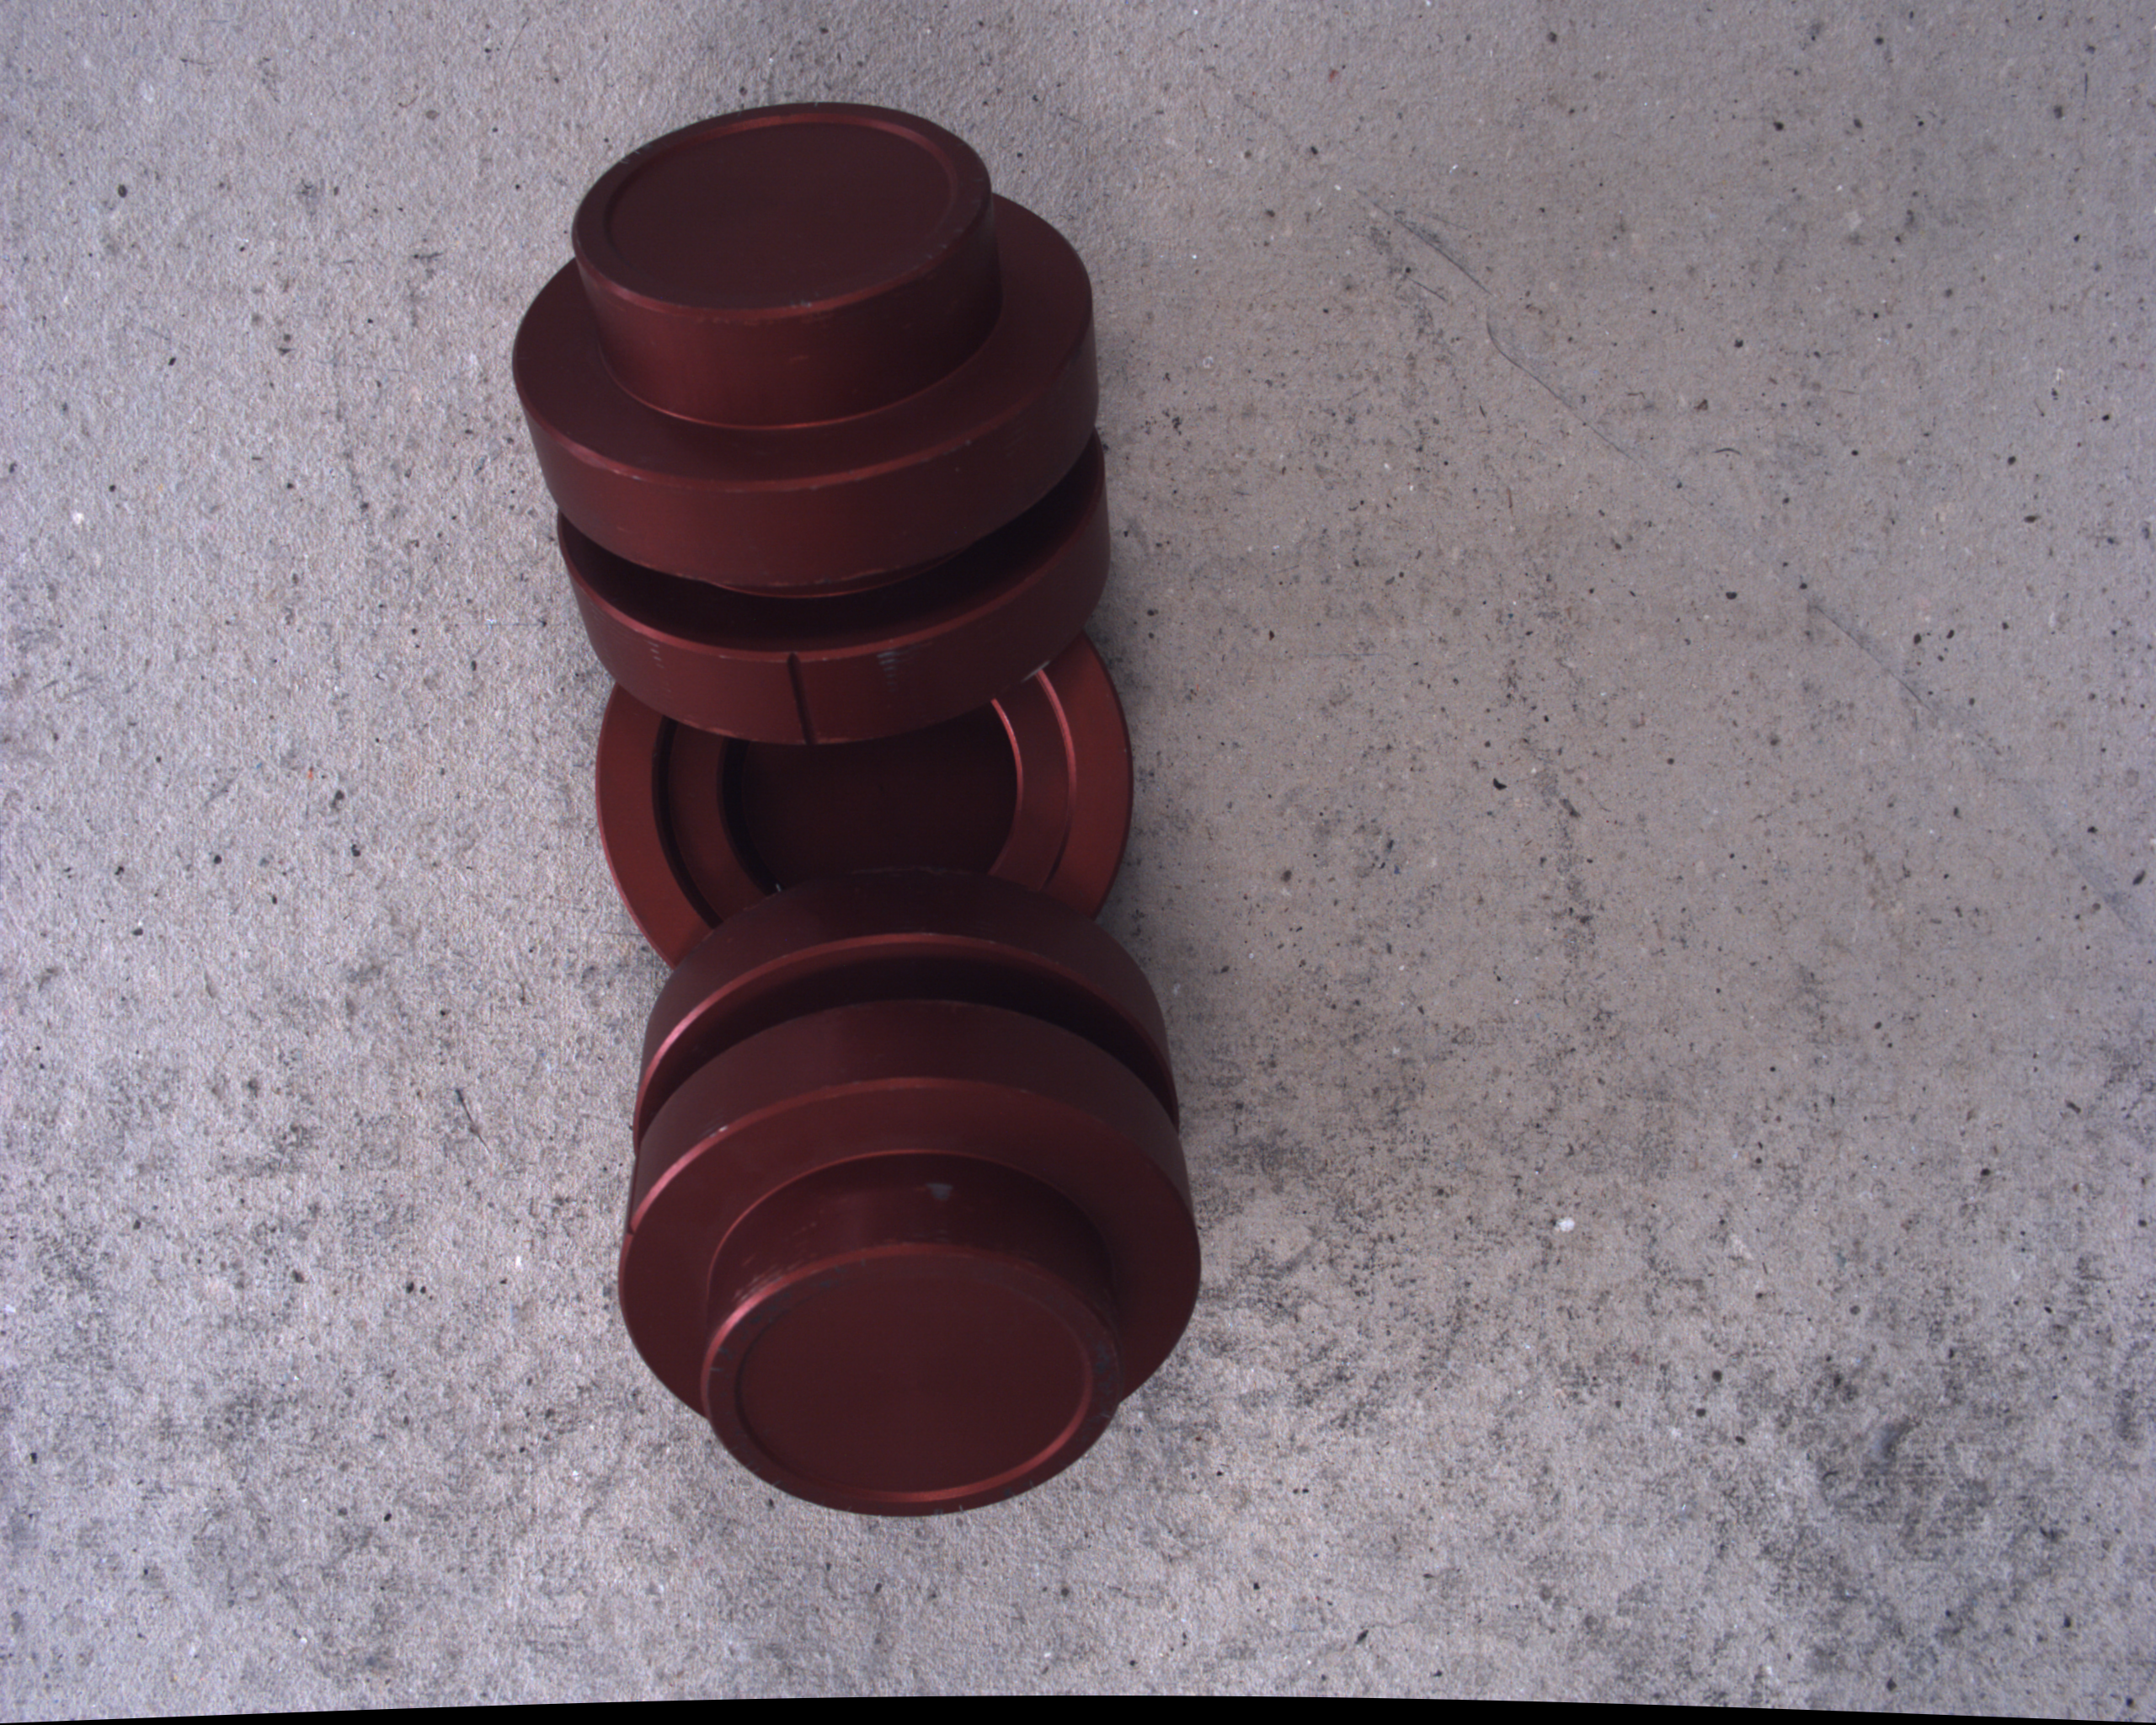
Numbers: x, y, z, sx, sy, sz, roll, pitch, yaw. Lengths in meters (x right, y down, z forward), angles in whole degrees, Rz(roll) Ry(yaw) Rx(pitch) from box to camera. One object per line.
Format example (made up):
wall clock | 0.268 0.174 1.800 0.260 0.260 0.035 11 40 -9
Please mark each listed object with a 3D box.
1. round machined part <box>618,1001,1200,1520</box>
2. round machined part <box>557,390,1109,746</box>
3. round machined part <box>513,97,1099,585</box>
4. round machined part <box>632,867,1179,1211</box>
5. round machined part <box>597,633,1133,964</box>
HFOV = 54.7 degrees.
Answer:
round machined part | -0.028 0.074 0.354 0.099 0.042 0.097 -3 126 -4
round machined part | -0.045 -0.069 0.374 0.099 0.042 0.098 -2 47 3
round machined part | -0.047 -0.094 0.354 0.099 0.042 0.098 -2 47 3
round machined part | -0.031 0.052 0.378 0.099 0.042 0.097 -3 127 -3
round machined part | -0.039 -0.015 0.403 0.099 0.042 0.097 0 90 0
